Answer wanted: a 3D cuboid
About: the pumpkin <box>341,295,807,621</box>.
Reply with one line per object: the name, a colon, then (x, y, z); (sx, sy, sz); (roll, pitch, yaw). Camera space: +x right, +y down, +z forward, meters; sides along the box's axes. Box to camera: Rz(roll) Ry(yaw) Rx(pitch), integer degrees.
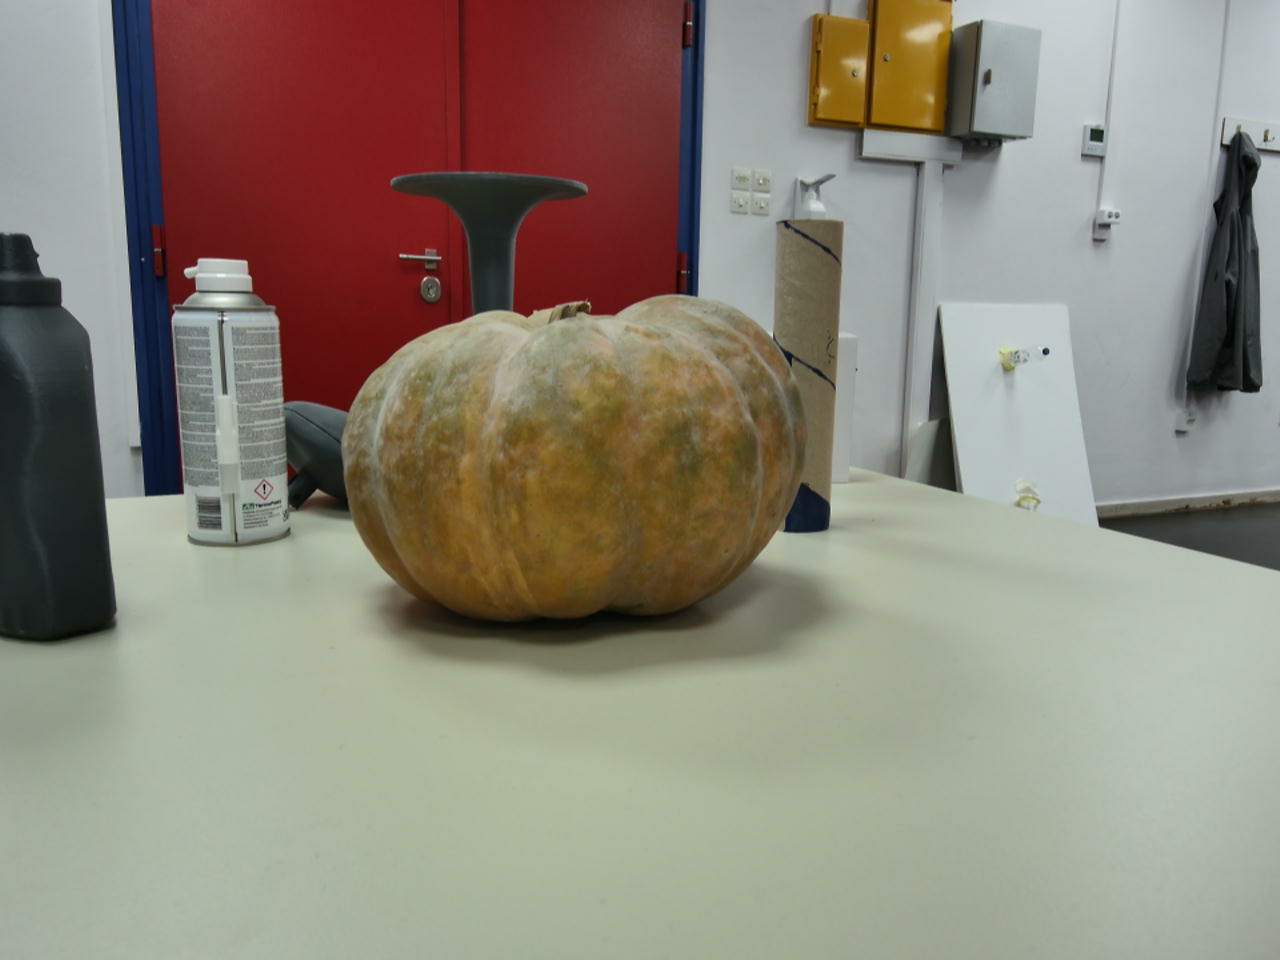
pumpkin: (-0.037, -0.017, 0.545); (0.252, 0.168, 0.252); (0, 8, 0)
